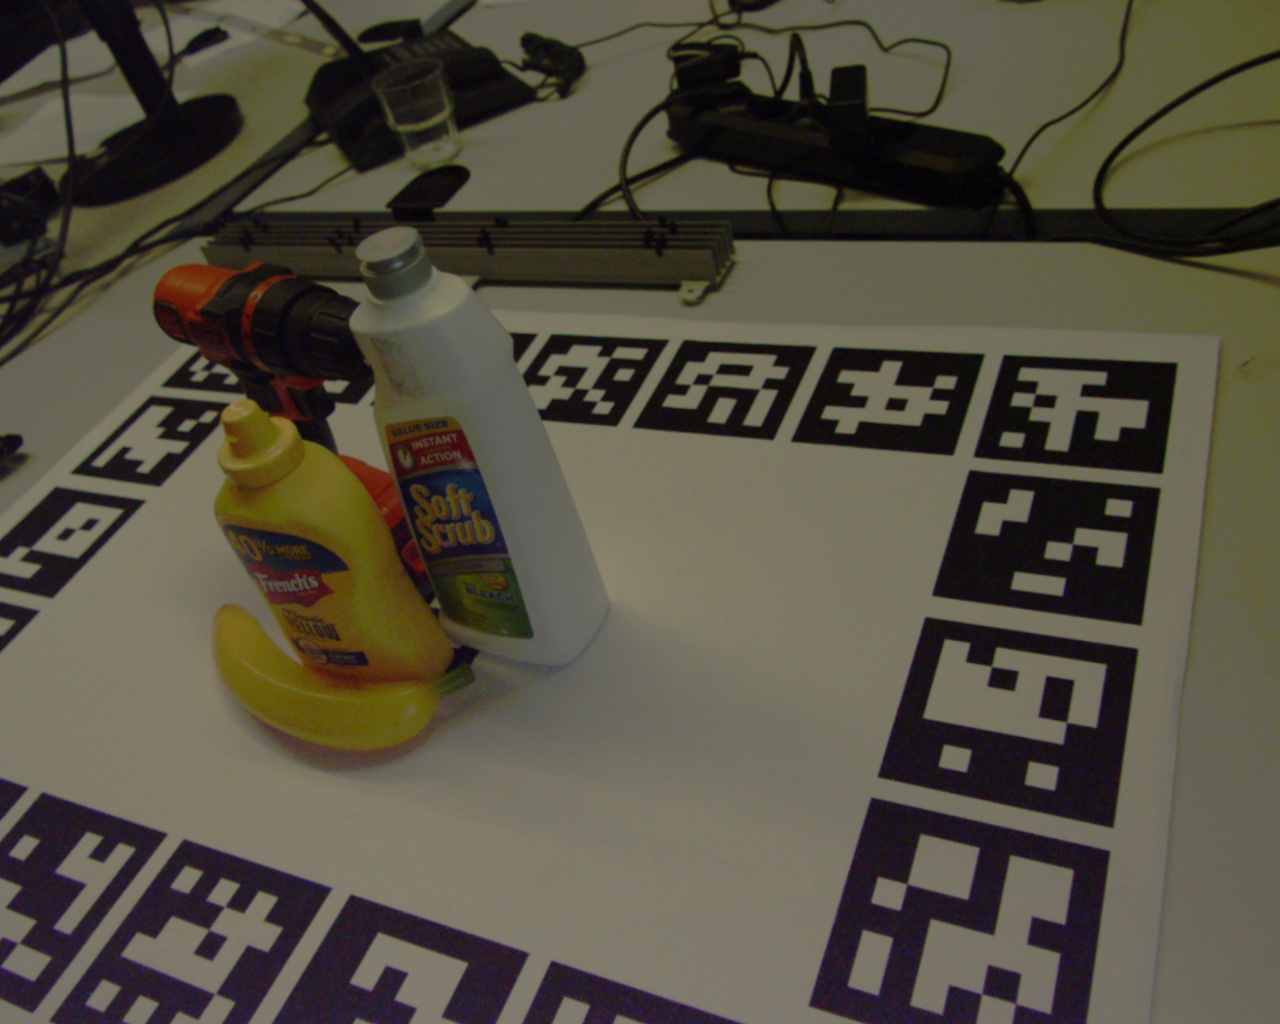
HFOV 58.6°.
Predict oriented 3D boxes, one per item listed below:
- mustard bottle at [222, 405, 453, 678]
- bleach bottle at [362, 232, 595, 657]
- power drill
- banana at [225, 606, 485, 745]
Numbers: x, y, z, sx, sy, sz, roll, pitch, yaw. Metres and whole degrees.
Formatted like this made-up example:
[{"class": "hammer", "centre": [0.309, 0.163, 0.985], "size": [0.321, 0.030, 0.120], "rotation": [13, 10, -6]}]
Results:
[{"class": "mustard bottle", "centre": [-0.177, 0.018, 0.634], "size": [0.097, 0.190, 0.058], "rotation": [8, 48, 25]}, {"class": "bleach bottle", "centre": [-0.098, -0.032, 0.622], "size": [0.104, 0.249, 0.067], "rotation": [9, 43, 27]}, {"class": "power drill", "centre": [-0.192, -0.051, 0.681], "size": [0.187, 0.185, 0.057], "rotation": [19, 52, 32]}, {"class": "banana", "centre": [-0.187, 0.096, 0.681], "size": [0.200, 0.038, 0.074], "rotation": [9, 50, 31]}]
